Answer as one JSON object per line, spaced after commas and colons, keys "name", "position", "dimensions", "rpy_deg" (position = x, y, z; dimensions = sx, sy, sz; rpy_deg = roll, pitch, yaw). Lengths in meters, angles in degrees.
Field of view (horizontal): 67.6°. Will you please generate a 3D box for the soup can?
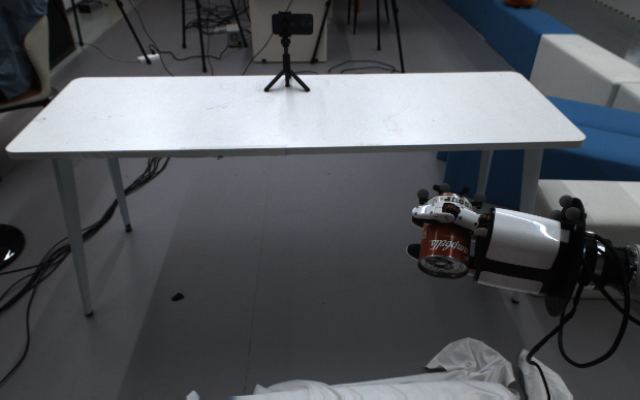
{"name": "soup can", "position": [0.177, 0.048, 0.672], "dimensions": [0.067, 0.067, 0.101], "rpy_deg": [9, 58, 10]}
